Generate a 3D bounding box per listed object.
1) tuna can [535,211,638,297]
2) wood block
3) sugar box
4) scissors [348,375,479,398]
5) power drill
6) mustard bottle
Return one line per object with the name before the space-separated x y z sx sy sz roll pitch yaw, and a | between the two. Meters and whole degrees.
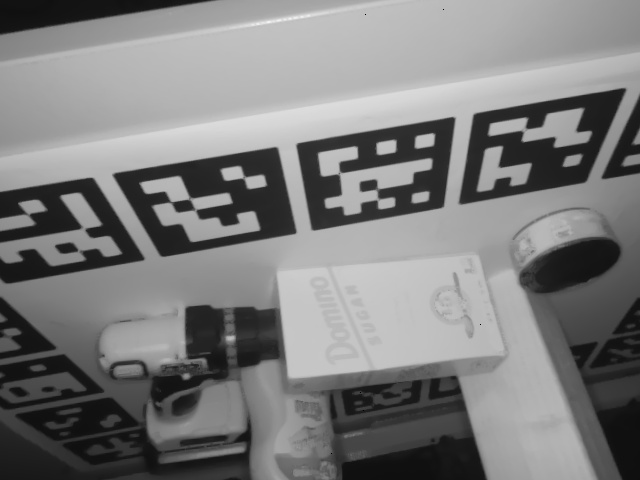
tuna can | 0.230 0.014 0.593 0.086 0.034 0.085 -7 141 -5
wood block | 0.210 0.143 0.630 0.090 0.207 0.090 -29 137 21
sugar box | 0.070 0.066 0.577 0.178 0.093 0.045 -1 144 -10
scissors | 0.128 0.152 0.757 0.203 0.016 0.087 -9 145 -4
power drill | -0.064 0.131 0.648 0.186 0.057 0.185 -2 134 -13
mustard bottle | -0.004 0.199 0.653 0.097 0.192 0.057 28 127 -37
